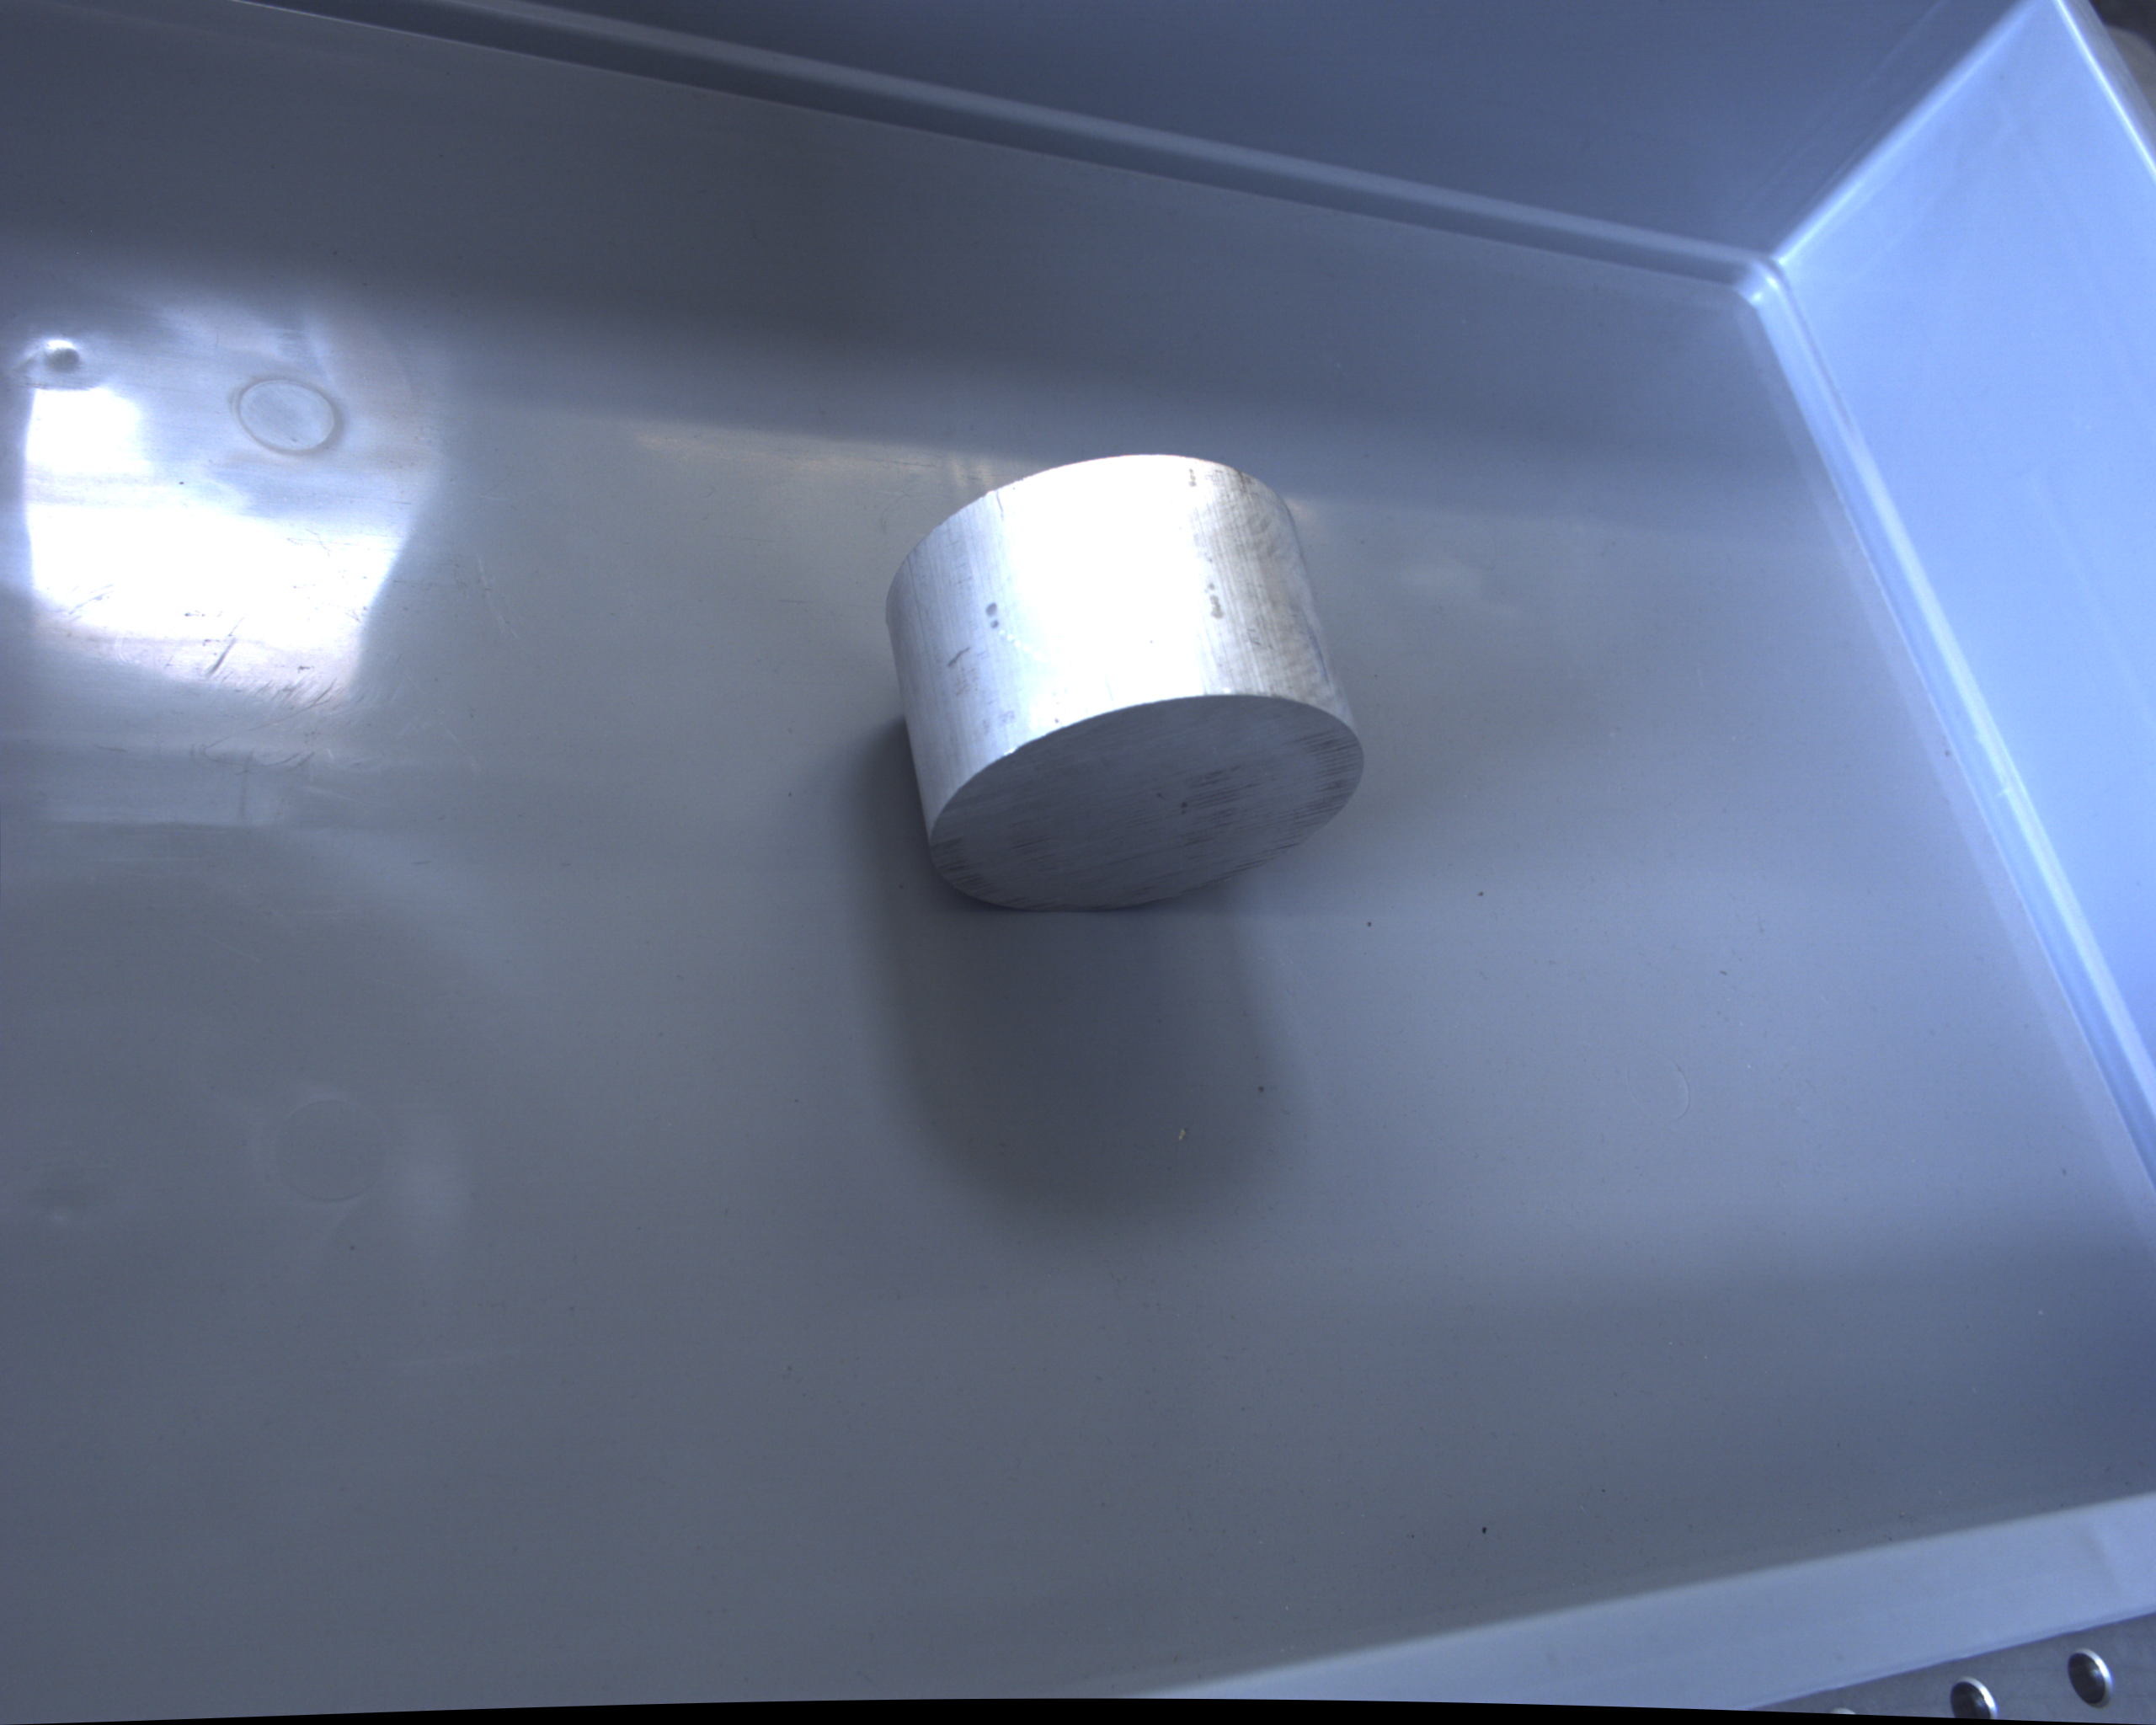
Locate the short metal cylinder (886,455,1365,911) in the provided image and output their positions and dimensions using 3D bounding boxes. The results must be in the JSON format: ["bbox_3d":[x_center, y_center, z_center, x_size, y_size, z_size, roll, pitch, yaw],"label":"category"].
[{"bbox_3d":[0.008,-0.031,0.389,0.081,0.080,0.050,2,61,-27],"label":"short metal cylinder"}]
